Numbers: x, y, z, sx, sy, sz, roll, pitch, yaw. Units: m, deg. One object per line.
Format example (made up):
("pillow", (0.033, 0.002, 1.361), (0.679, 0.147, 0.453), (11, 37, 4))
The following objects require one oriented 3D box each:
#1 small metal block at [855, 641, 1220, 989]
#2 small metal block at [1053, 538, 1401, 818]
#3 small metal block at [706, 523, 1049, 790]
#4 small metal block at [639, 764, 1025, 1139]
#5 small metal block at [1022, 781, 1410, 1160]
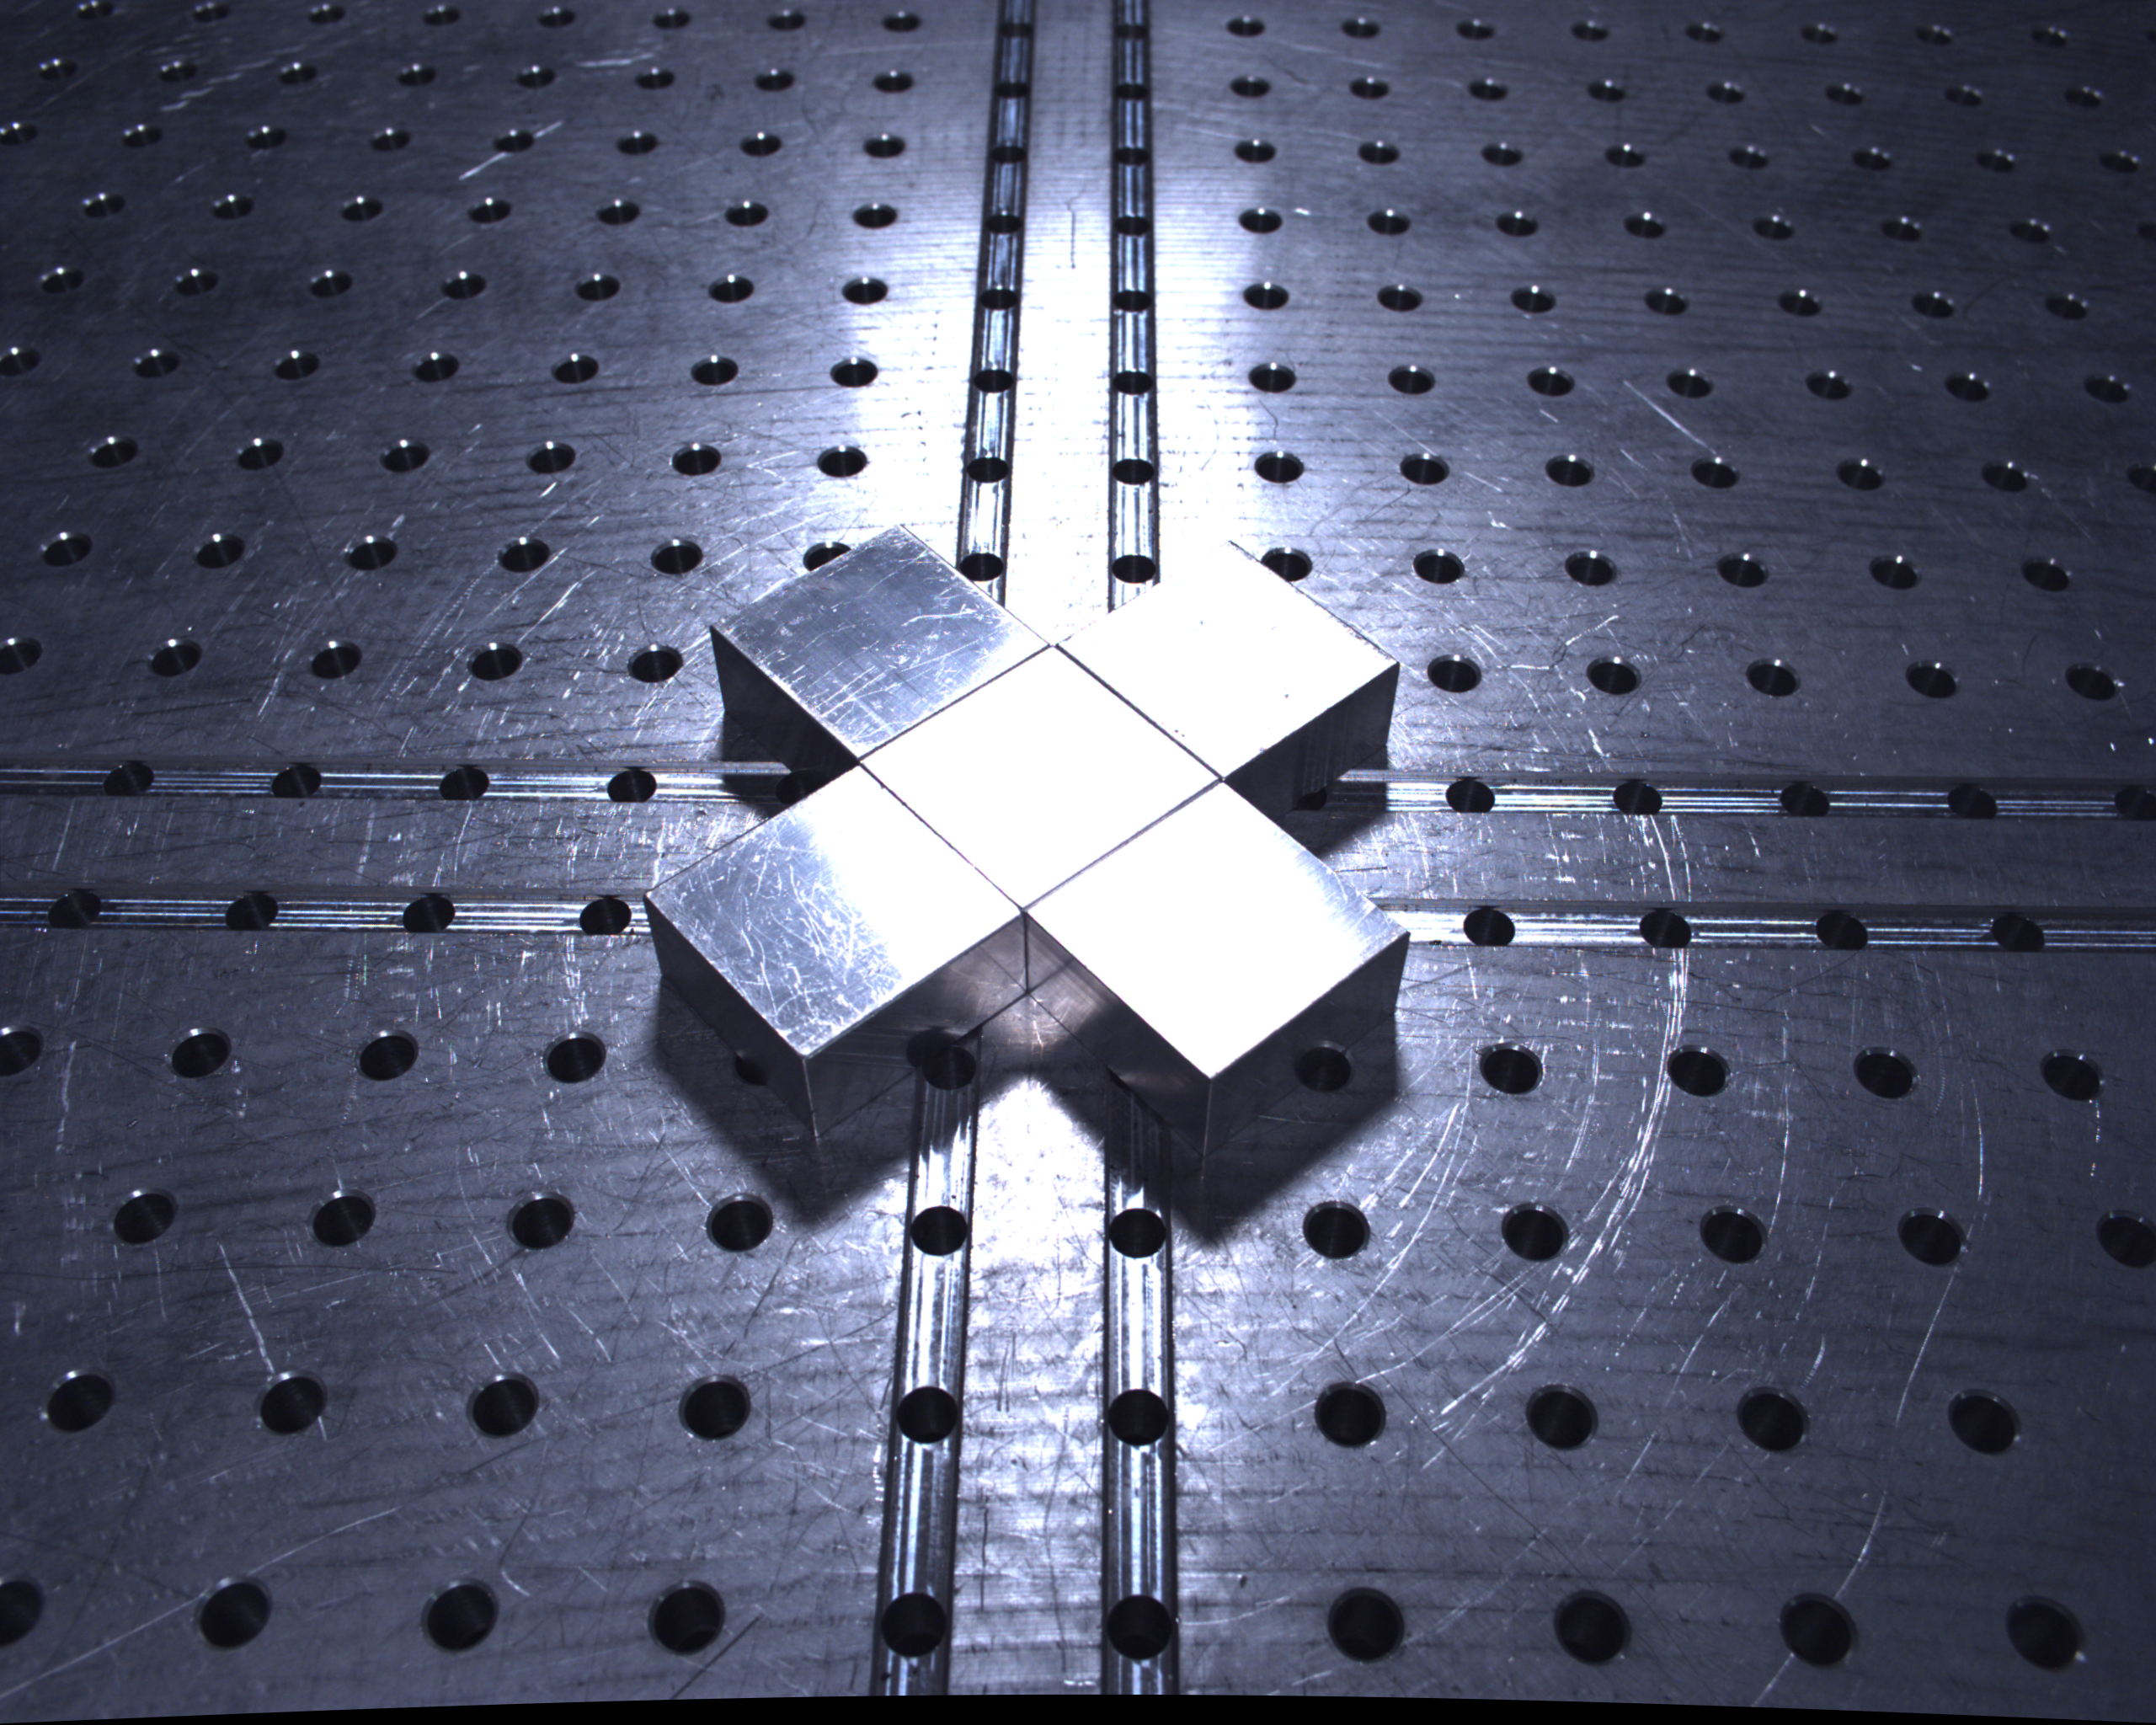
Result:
("small metal block", (-0.008, -0.011, 0.415), (0.050, 0.025, 0.050), (-34, 58, -26))
("small metal block", (0.030, -0.035, 0.437), (0.050, 0.025, 0.050), (-34, 58, -26))
("small metal block", (-0.041, -0.039, 0.440), (0.050, 0.025, 0.050), (-34, 58, -25))
("small metal block", (-0.046, 0.016, 0.394), (0.050, 0.025, 0.050), (-34, 58, -26))
("small metal block", (0.025, 0.019, 0.392), (0.050, 0.025, 0.050), (-34, 58, -25))
